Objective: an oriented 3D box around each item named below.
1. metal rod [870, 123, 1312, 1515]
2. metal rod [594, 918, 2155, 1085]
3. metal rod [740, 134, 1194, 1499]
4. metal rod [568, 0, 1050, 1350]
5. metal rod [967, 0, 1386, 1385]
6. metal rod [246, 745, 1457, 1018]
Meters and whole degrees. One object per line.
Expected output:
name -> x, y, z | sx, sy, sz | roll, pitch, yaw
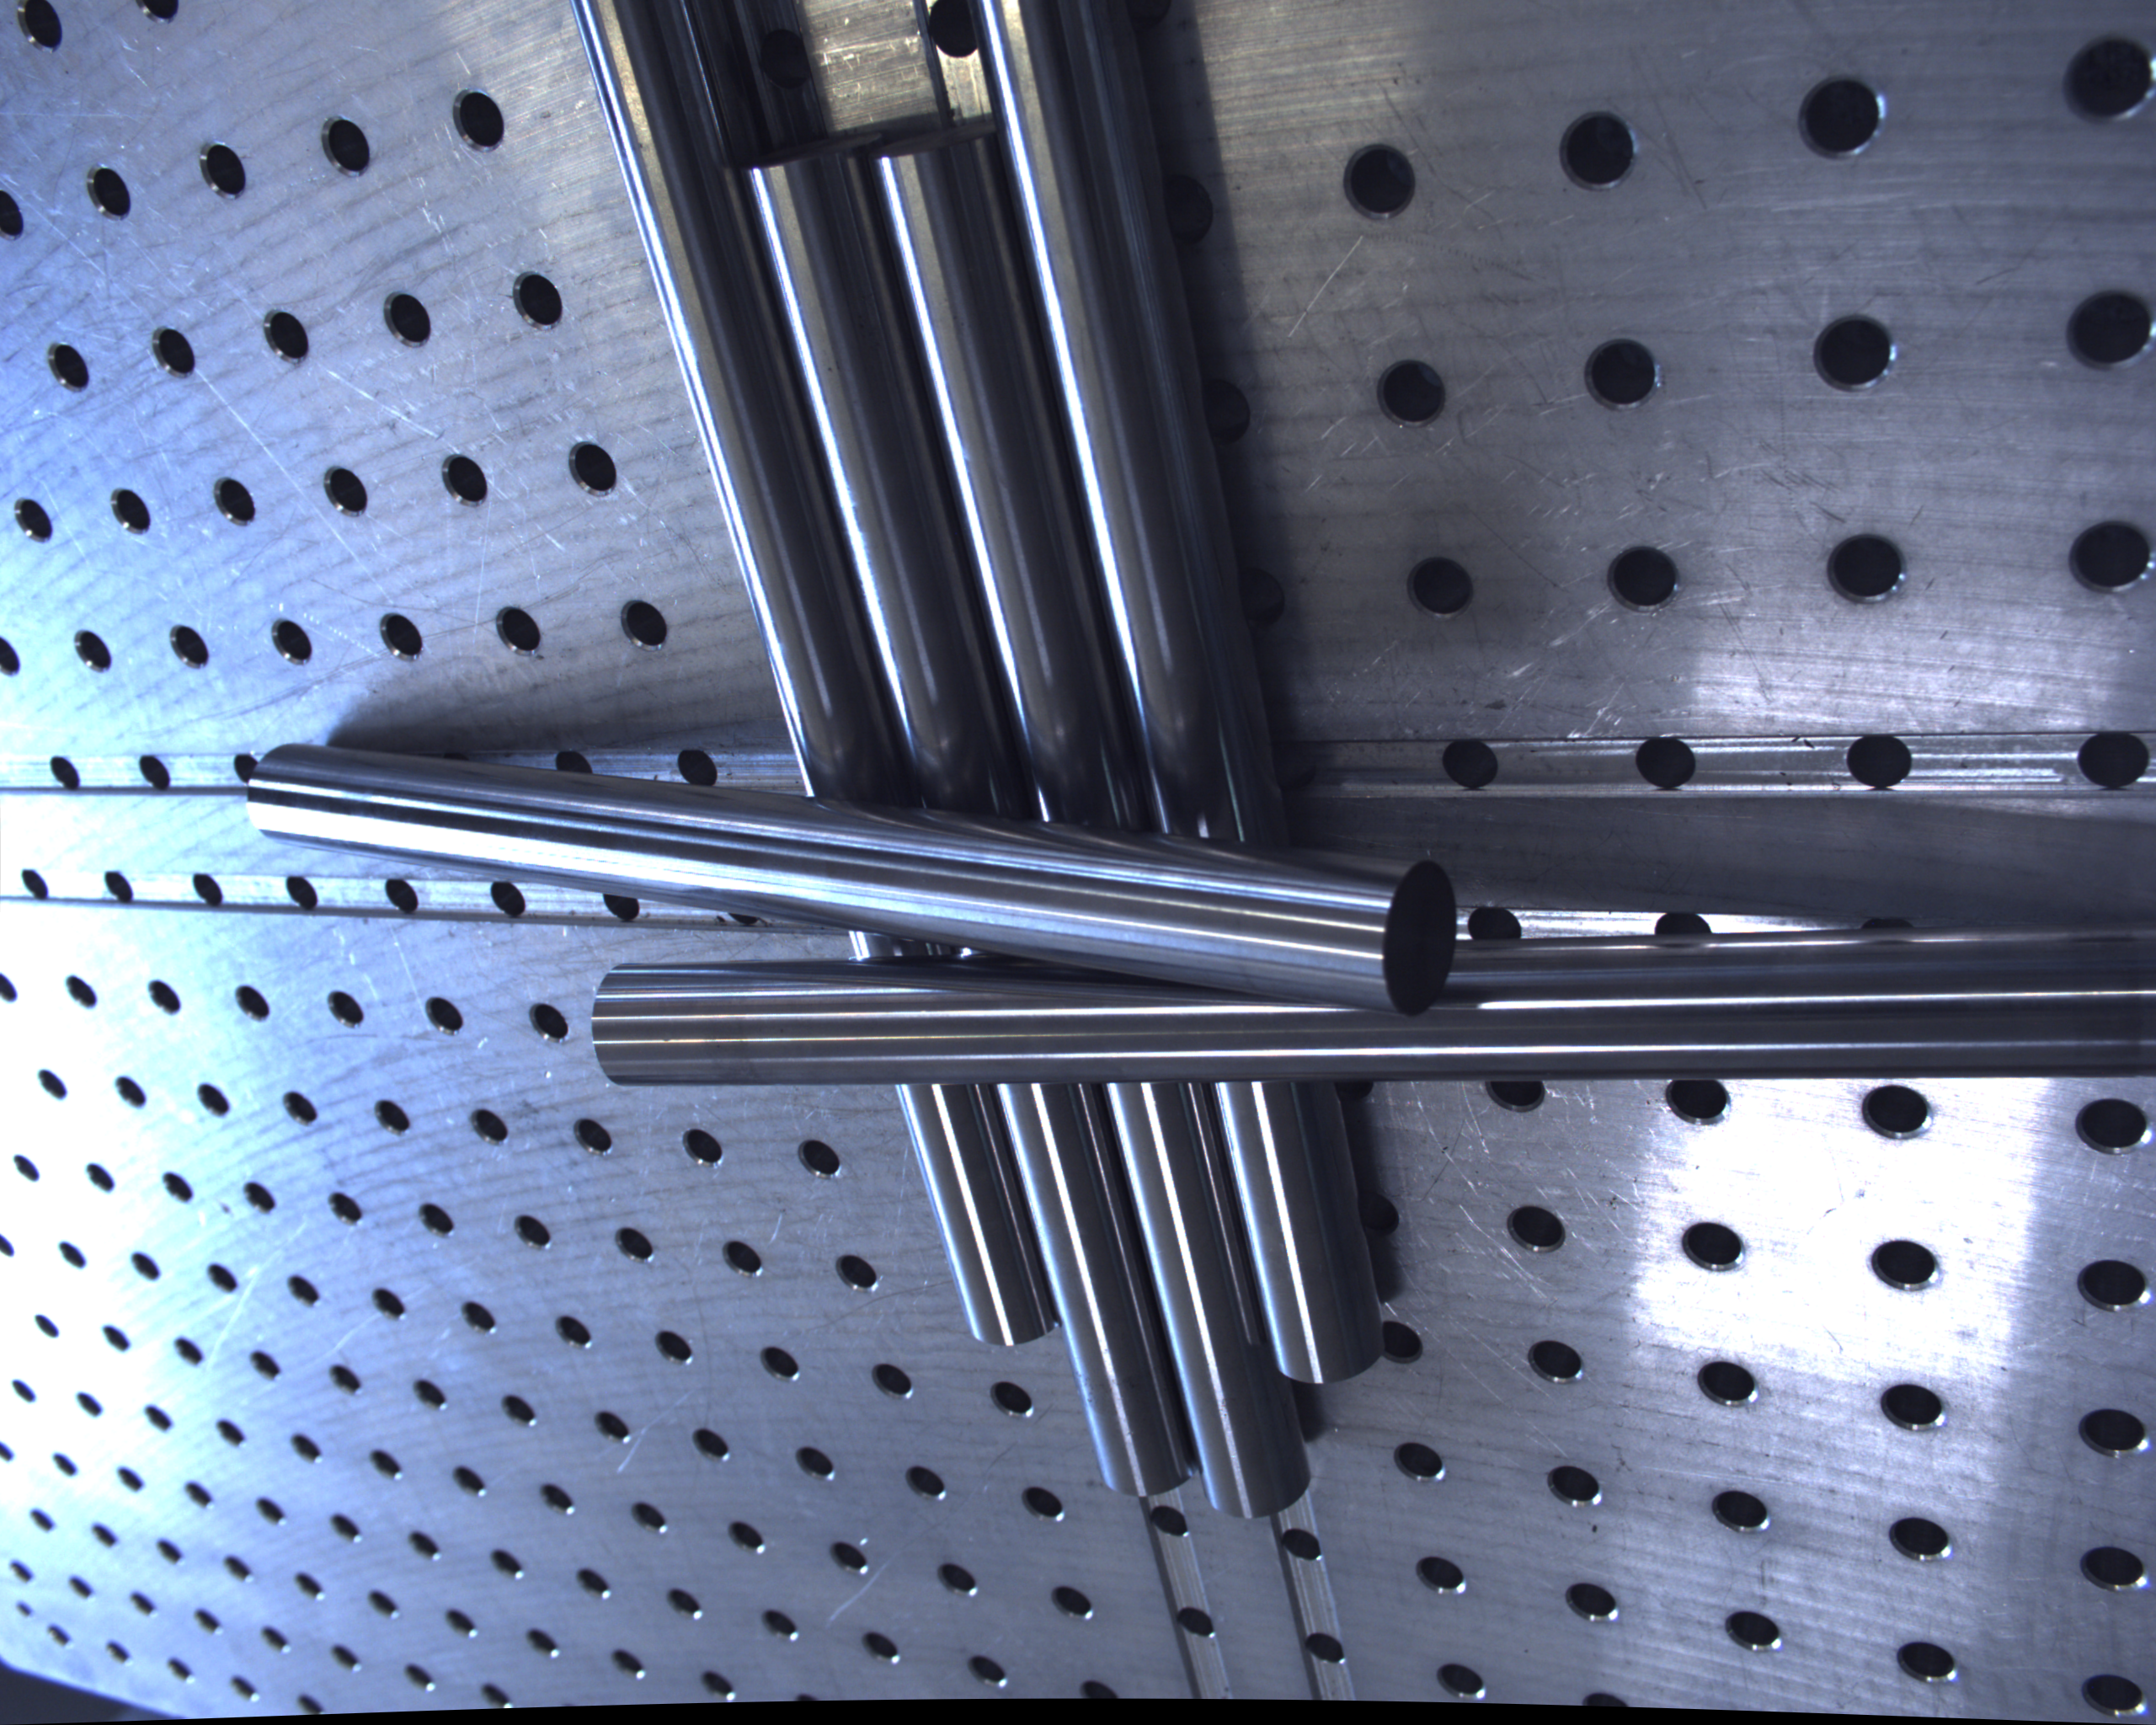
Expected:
metal rod -> 0.009, 0.009, 0.414 | 0.025, 0.025, 0.298 | 1, 119, 28
metal rod -> 0.050, 0.027, 0.375 | 0.301, 0.025, 0.025 | -2, 118, 19
metal rod -> -0.015, 0.009, 0.424 | 0.025, 0.025, 0.298 | 1, 119, 28
metal rod -> -0.045, -0.027, 0.418 | 0.025, 0.025, 0.298 | 1, 119, 28
metal rod -> 0.021, -0.028, 0.382 | 0.025, 0.025, 0.298 | 1, 119, 28
metal rod -> -0.067, -0.002, 0.416 | 0.300, 0.025, 0.025 | 7, 122, 35
